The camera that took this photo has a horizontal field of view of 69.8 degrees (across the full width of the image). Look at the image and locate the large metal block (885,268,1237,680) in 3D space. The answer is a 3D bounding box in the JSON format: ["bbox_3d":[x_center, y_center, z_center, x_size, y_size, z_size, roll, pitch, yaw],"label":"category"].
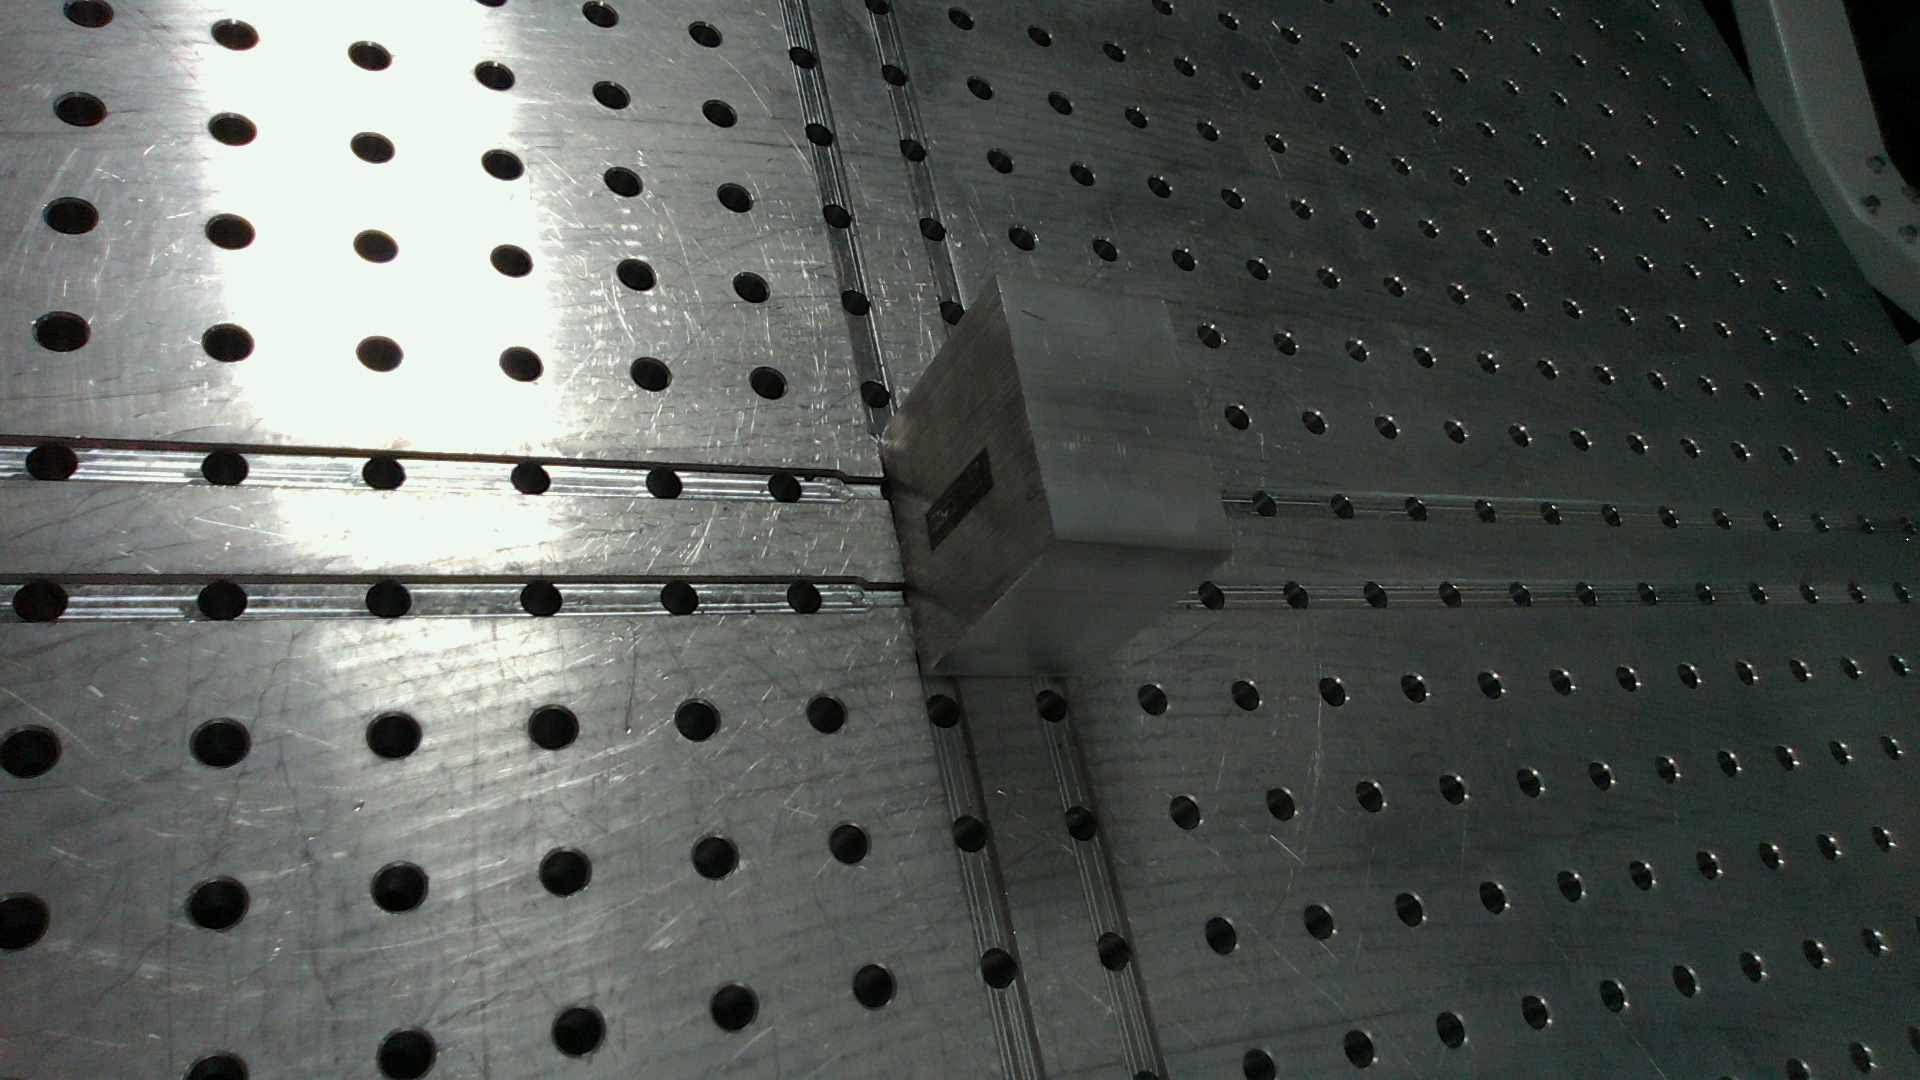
[{"bbox_3d":[0.023,-0.015,0.377,0.050,0.080,0.080,3,60,-26],"label":"large metal block"}]
